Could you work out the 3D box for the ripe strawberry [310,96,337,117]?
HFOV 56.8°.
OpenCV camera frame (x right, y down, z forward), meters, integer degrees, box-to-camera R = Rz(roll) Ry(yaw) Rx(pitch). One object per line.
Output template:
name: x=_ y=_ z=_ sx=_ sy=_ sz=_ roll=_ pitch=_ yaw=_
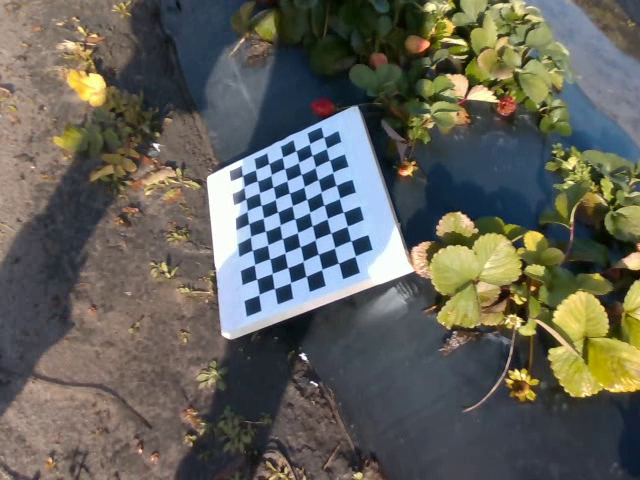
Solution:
ripe strawberry: x=0.002 y=-0.181 z=0.807 sx=0.037 sy=0.035 sz=0.033 roll=9 pitch=-41 yaw=-30
